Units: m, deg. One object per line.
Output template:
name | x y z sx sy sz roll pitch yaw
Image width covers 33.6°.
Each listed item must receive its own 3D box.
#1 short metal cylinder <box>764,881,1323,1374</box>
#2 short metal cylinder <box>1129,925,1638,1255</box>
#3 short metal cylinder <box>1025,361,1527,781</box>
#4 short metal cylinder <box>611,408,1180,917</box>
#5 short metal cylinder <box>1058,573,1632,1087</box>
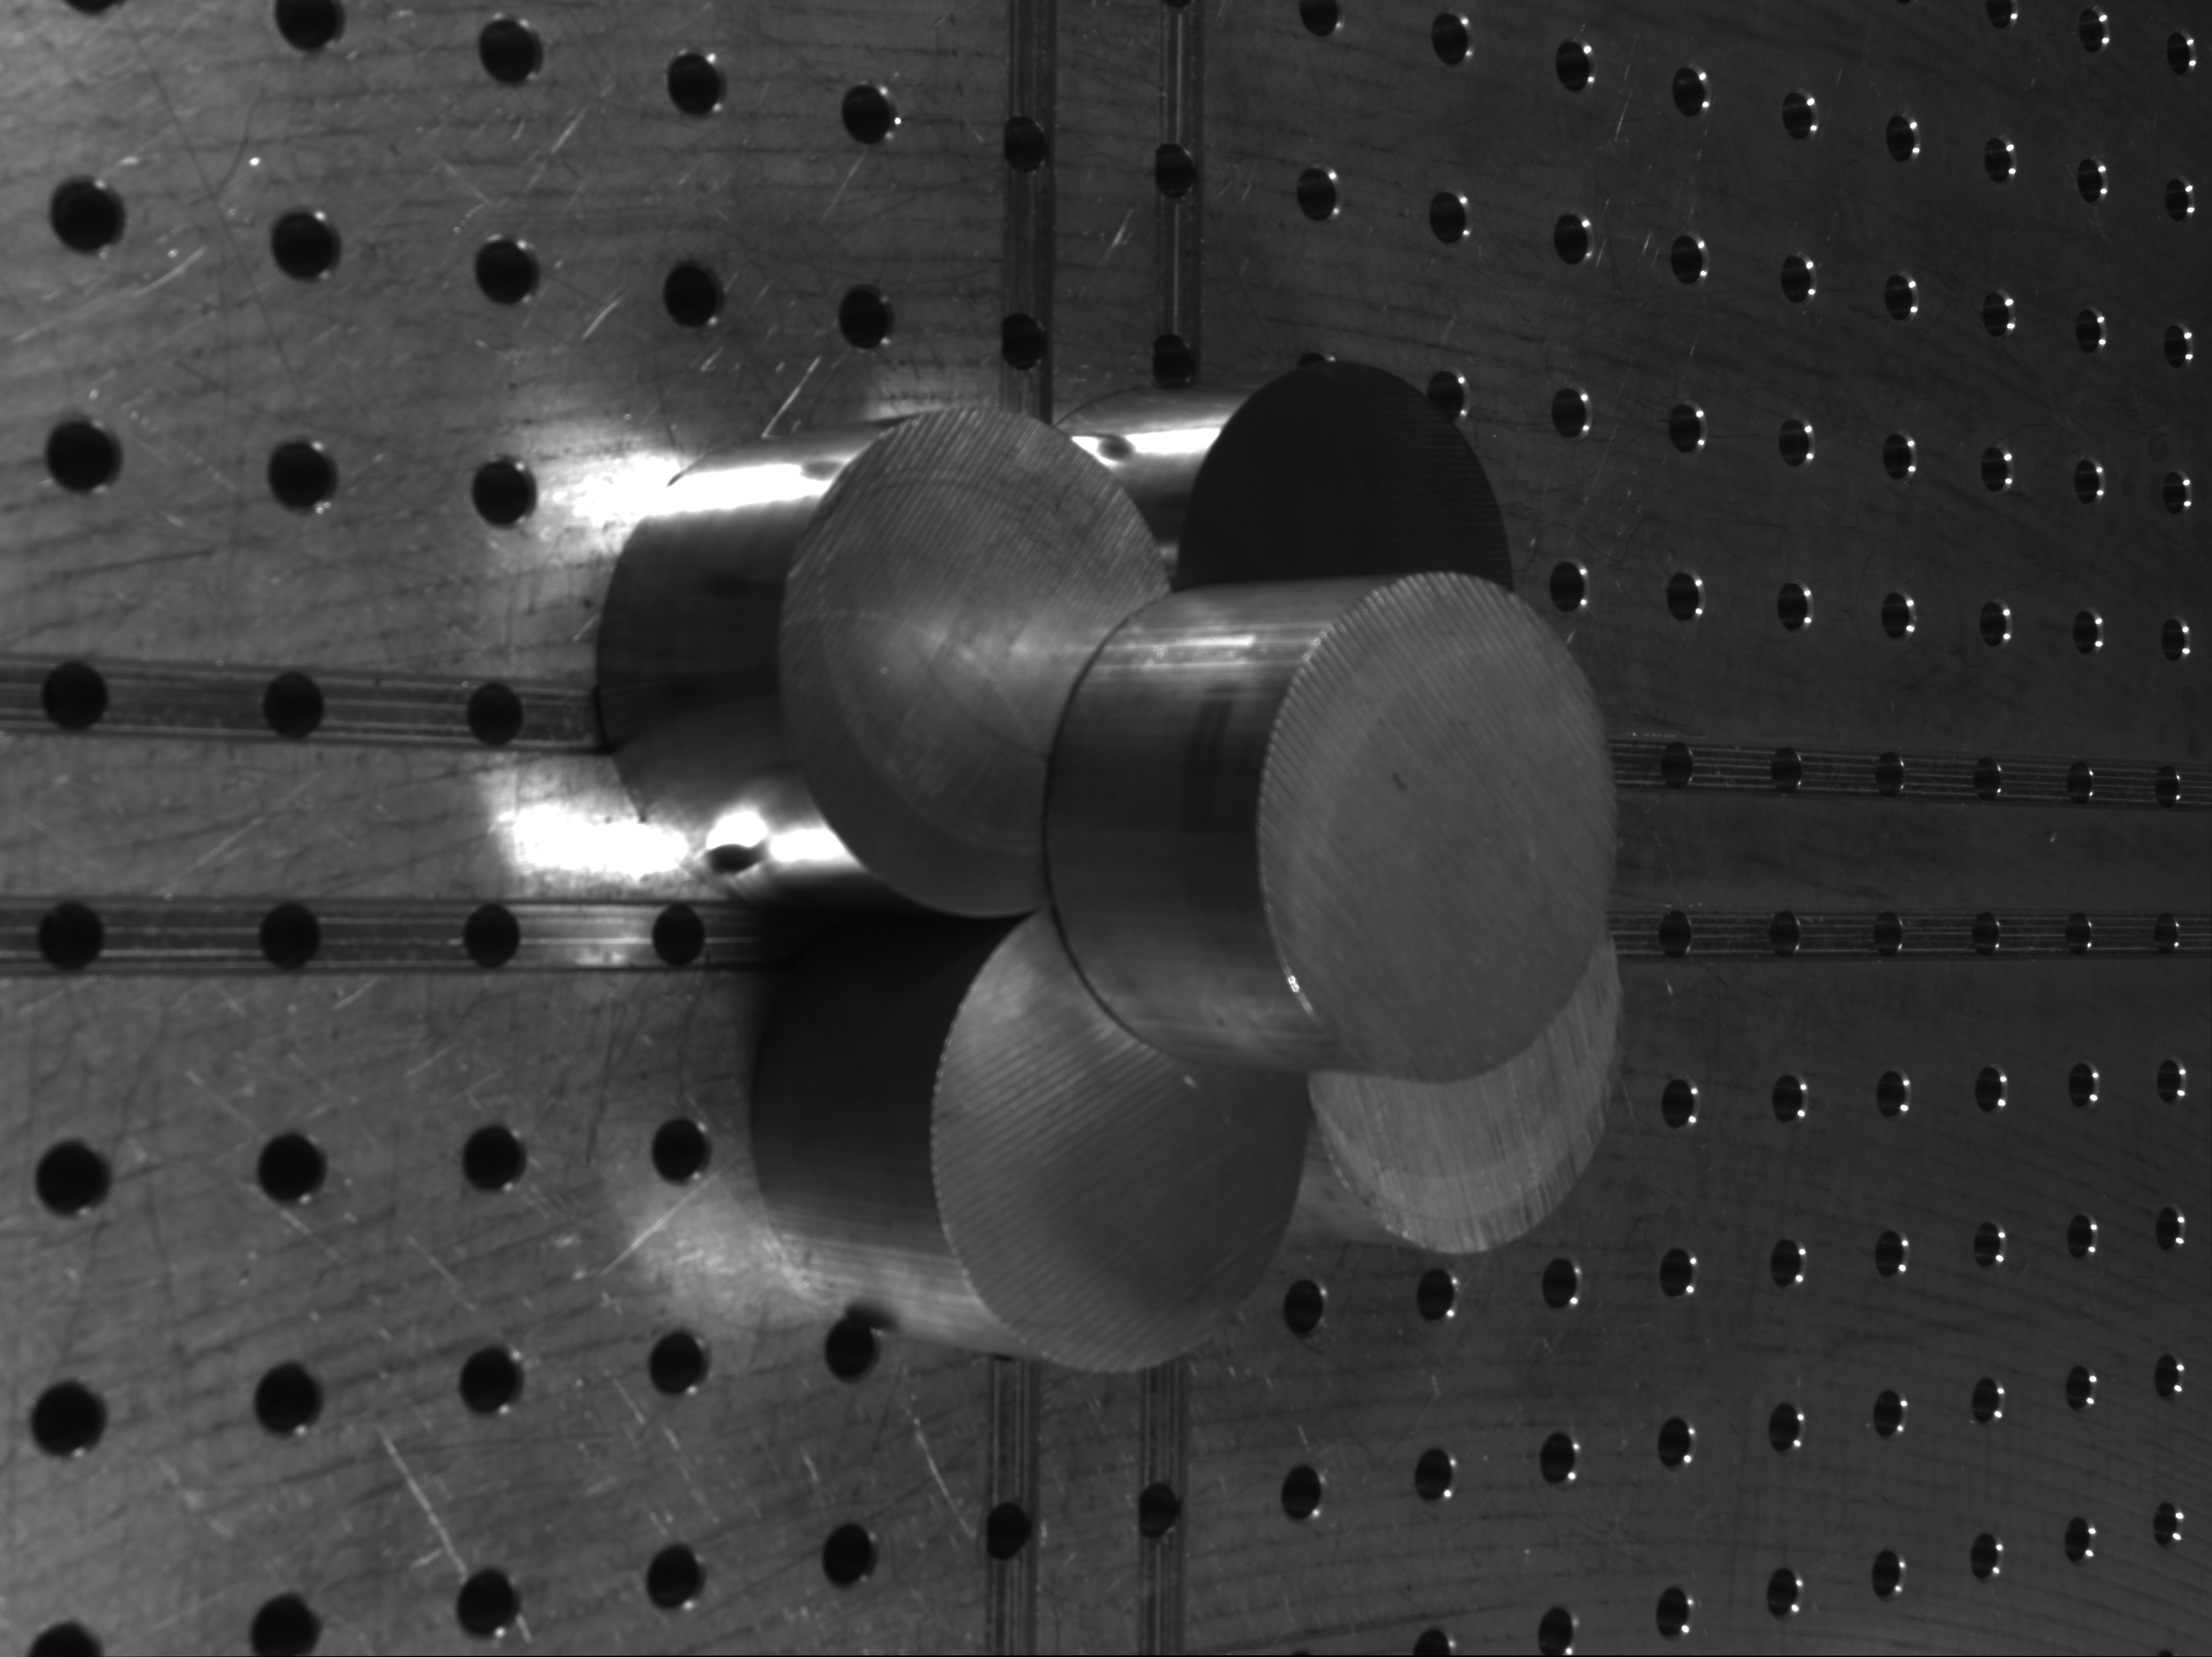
short metal cylinder | -0.010 0.049 0.615 0.080 0.050 0.080 0 90 -40
short metal cylinder | 0.051 0.035 0.665 0.080 0.050 0.080 0 90 -40
short metal cylinder | 0.029 -0.040 0.647 0.080 0.050 0.080 0 90 -40
short metal cylinder | -0.033 -0.026 0.596 0.080 0.050 0.080 0 90 -40
short metal cylinder | 0.039 0.000 0.589 0.080 0.050 0.080 -2 92 -41
